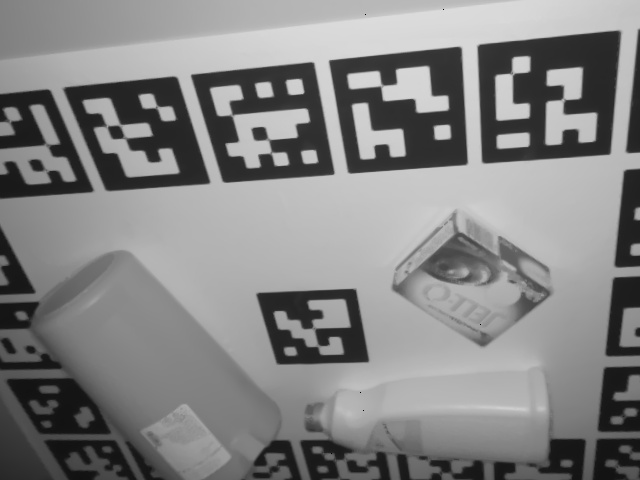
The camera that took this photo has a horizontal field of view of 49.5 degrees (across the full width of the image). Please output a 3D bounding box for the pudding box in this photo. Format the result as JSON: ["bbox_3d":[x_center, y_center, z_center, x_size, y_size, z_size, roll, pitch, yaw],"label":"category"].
[{"bbox_3d":[0.132,0.040,0.634,0.114,0.039,0.088,33,128,-12],"label":"pudding box"}]

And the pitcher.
[{"bbox_3d":[-0.168,0.138,0.713,0.186,0.135,0.243,-8,124,55],"label":"pitcher"}]

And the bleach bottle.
[{"bbox_3d":[0.108,0.193,0.730,0.249,0.069,0.102,-7,118,15],"label":"bleach bottle"}]
